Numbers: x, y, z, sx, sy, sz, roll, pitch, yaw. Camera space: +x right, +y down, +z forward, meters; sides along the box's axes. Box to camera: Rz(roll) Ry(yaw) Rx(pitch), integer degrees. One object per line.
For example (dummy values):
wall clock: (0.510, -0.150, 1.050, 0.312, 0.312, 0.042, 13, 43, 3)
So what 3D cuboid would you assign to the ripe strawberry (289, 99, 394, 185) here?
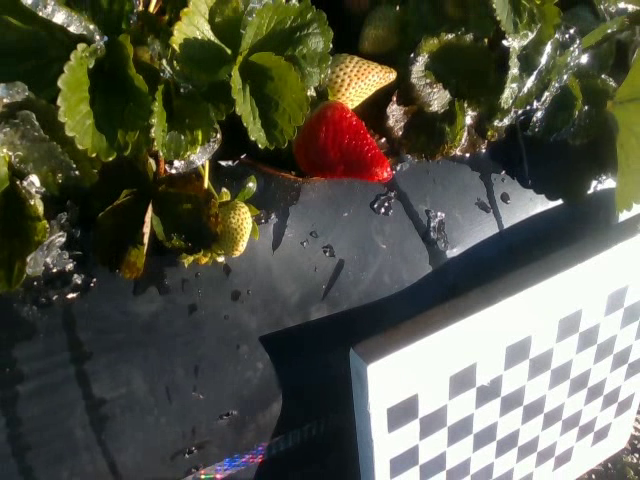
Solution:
ripe strawberry: (0.013, -0.041, 0.277, 0.053, 0.040, 0.042, 37, -3, 22)
